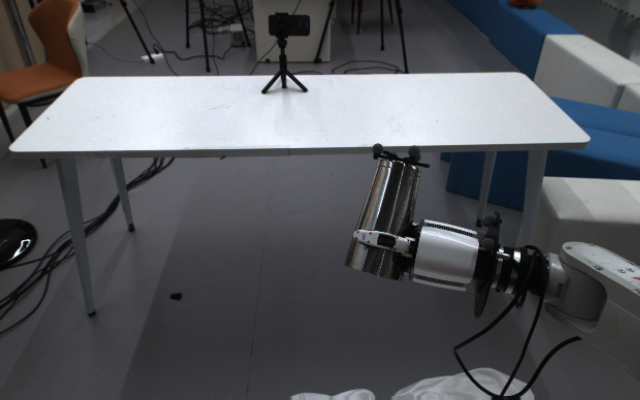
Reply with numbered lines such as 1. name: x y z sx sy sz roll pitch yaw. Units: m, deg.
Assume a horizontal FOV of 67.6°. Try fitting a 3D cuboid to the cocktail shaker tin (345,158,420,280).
1. cocktail shaker tin: 0.102 0.029 0.742 0.093 0.170 0.093 15 -4 1
